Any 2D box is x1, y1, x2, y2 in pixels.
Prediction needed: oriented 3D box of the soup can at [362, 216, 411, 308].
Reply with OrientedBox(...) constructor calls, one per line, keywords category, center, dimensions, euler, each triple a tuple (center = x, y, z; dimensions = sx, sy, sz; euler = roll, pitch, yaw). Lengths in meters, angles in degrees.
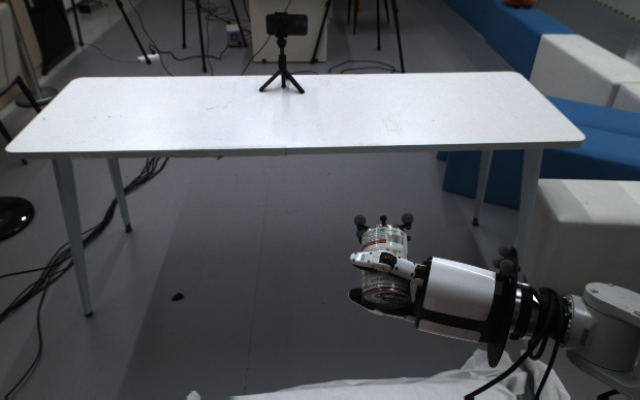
OrientedBox(category="soup can", center=(0.093, 0.094, 0.680), dimensions=(0.067, 0.067, 0.101), euler=(3, 57, 1))
